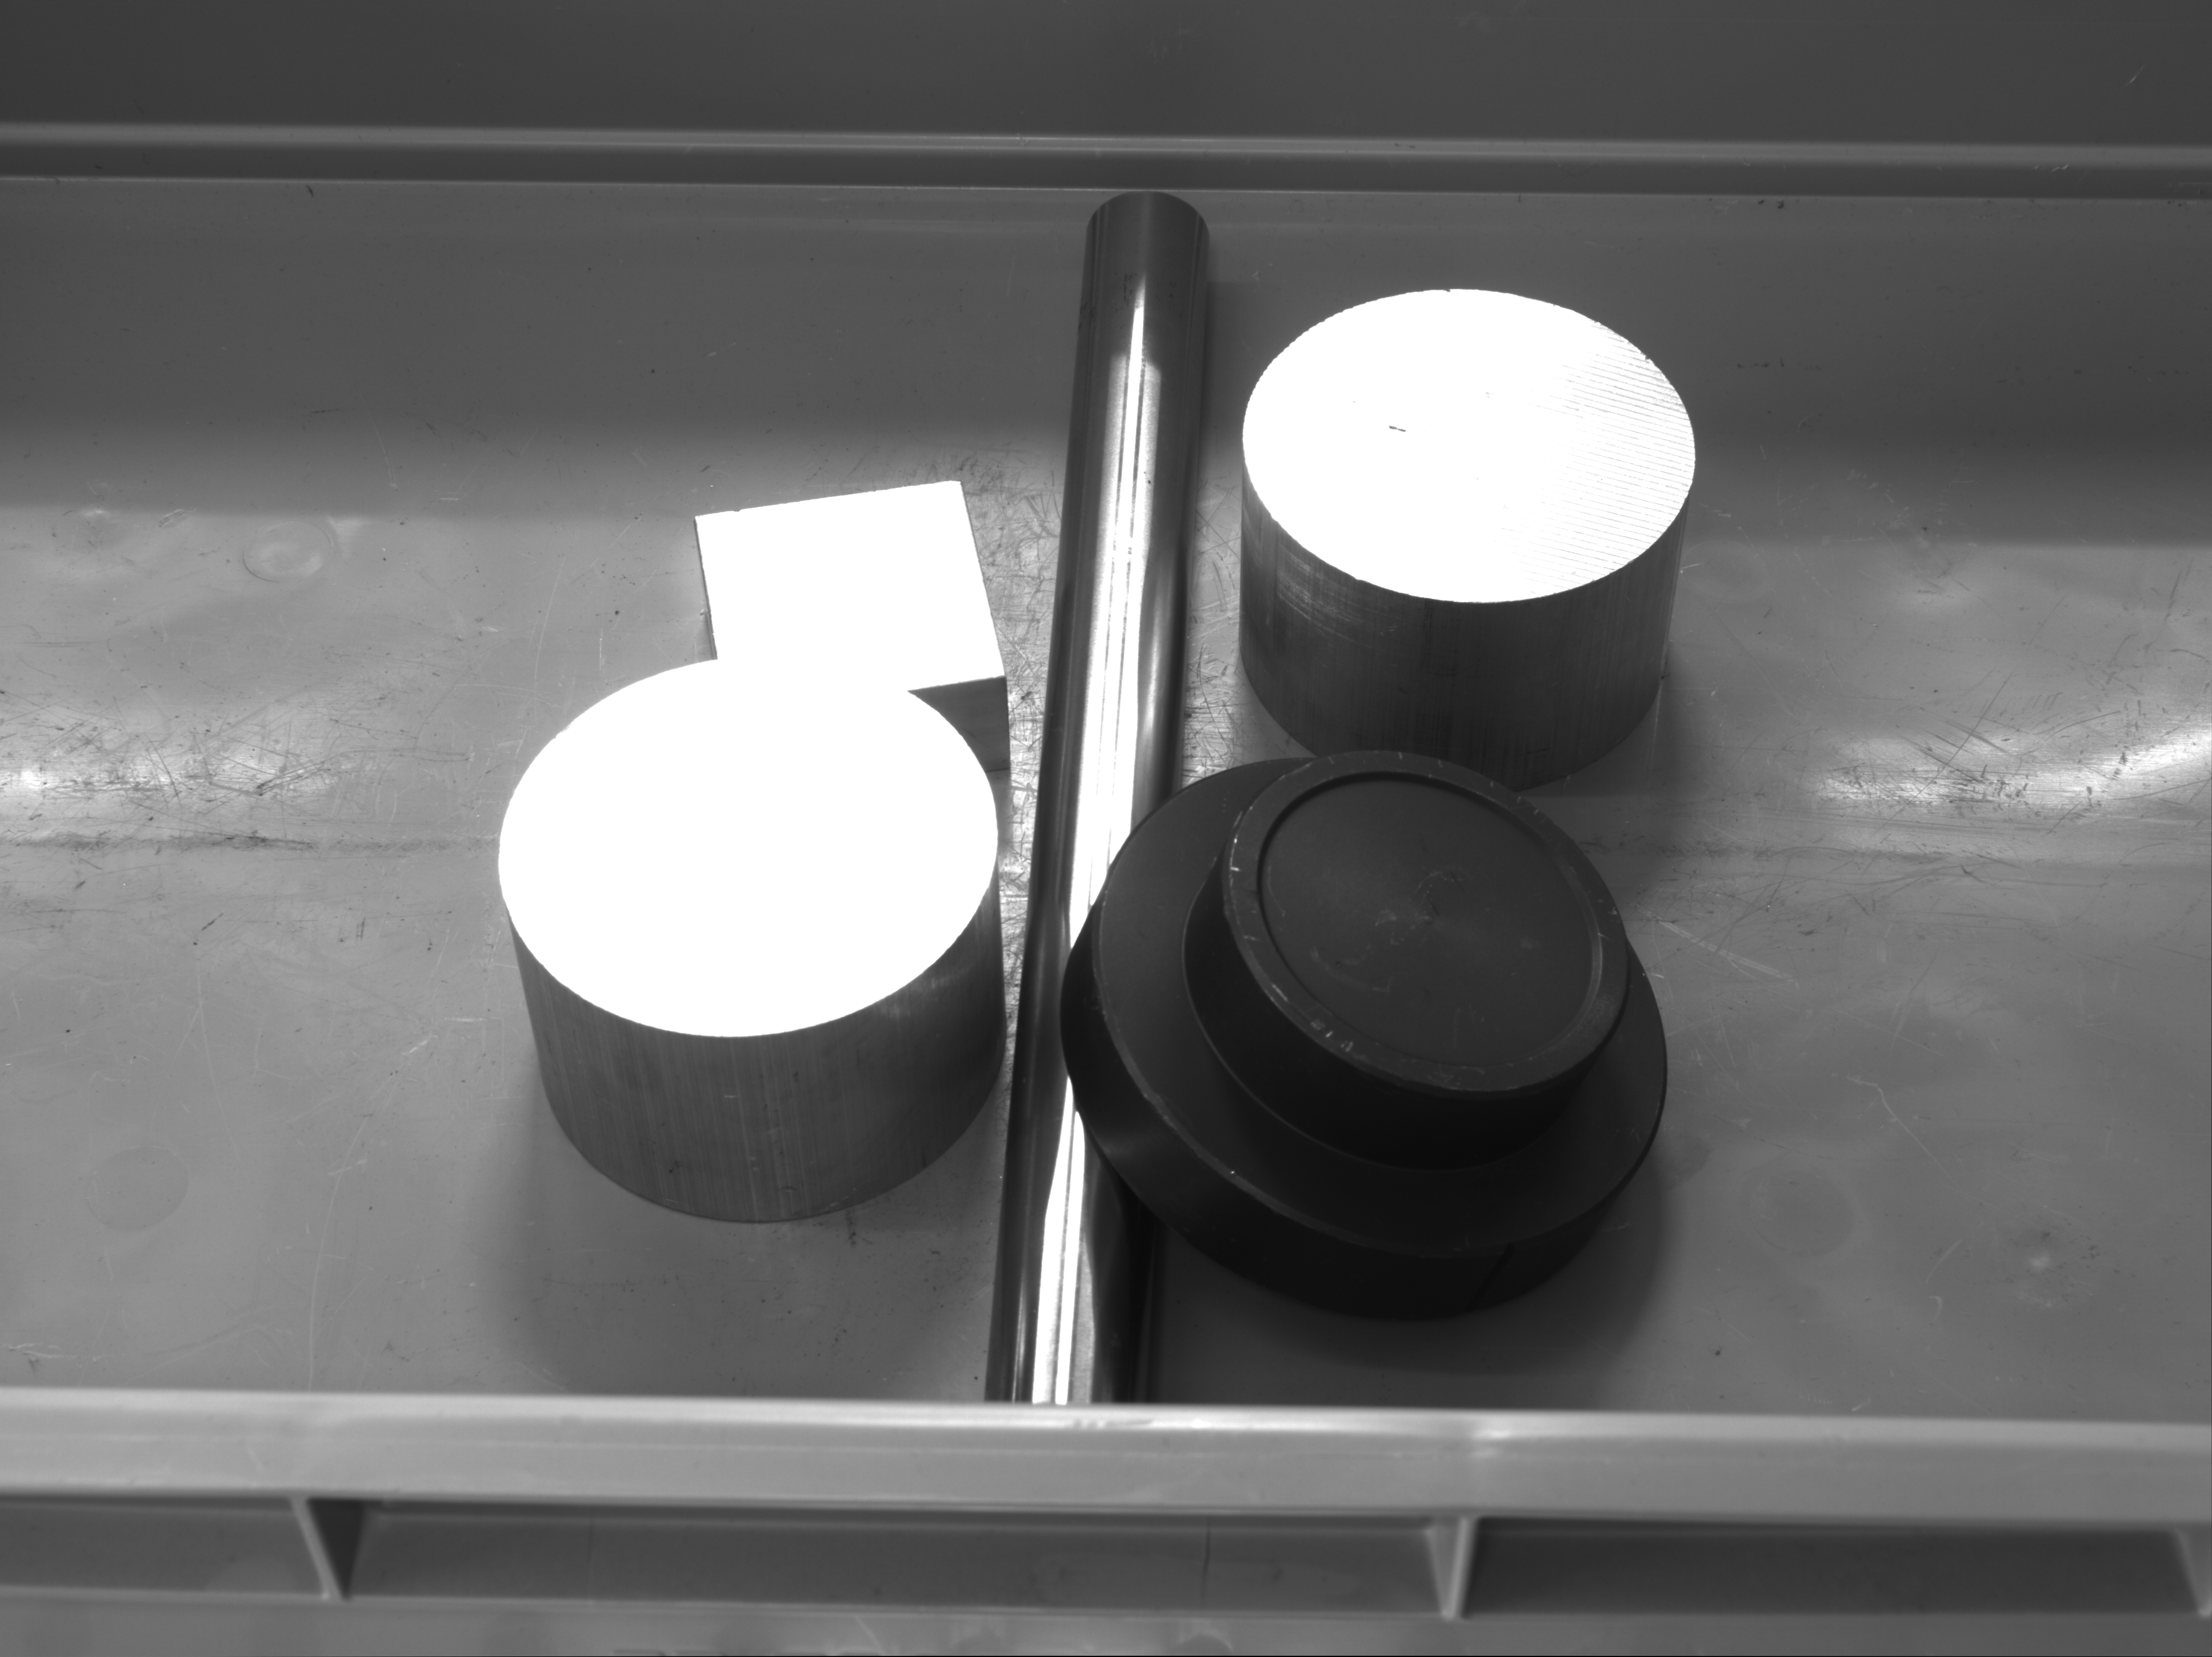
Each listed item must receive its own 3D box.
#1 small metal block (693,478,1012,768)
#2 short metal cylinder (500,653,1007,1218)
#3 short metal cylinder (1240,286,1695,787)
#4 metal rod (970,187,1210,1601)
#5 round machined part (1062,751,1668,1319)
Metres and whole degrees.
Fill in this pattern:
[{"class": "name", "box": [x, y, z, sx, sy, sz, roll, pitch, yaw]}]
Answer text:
[{"class": "small metal block", "box": [-0.046, -0.034, 0.669, 0.050, 0.025, 0.050, -9, 50, -7]}, {"class": "short metal cylinder", "box": [-0.057, 0.017, 0.609, 0.080, 0.050, 0.080, 0, 50, 0]}, {"class": "short metal cylinder", "box": [0.064, -0.053, 0.669, 0.080, 0.050, 0.080, 0, 50, 0]}, {"class": "metal rod", "box": [0.000, -0.005, 0.645, 0.025, 0.025, 0.300, 2, 50, 2]}, {"class": "round machined part", "box": [0.045, 0.026, 0.591, 0.098, 0.042, 0.098, 11, 48, -12]}]
